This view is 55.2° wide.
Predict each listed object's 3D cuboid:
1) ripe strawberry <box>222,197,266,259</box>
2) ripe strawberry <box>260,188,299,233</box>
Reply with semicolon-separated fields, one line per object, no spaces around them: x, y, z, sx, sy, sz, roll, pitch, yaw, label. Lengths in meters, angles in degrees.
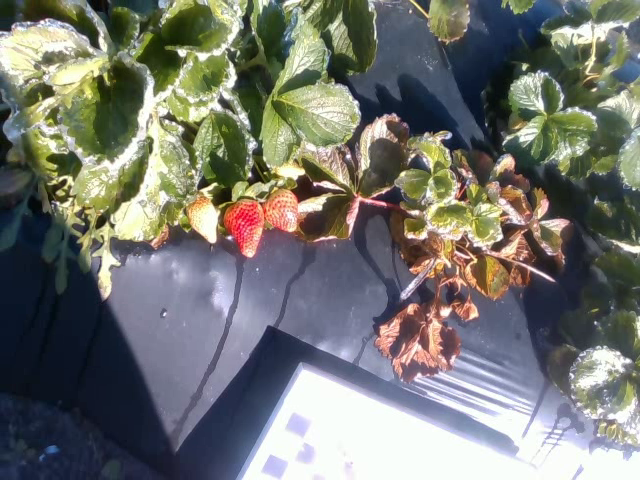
-0.061;-0.006;0.505;0.036;0.052;0.040;-12;-21;-6;ripe strawberry
-0.030;-0.024;0.523;0.036;0.041;0.030;-35;11;2;ripe strawberry
